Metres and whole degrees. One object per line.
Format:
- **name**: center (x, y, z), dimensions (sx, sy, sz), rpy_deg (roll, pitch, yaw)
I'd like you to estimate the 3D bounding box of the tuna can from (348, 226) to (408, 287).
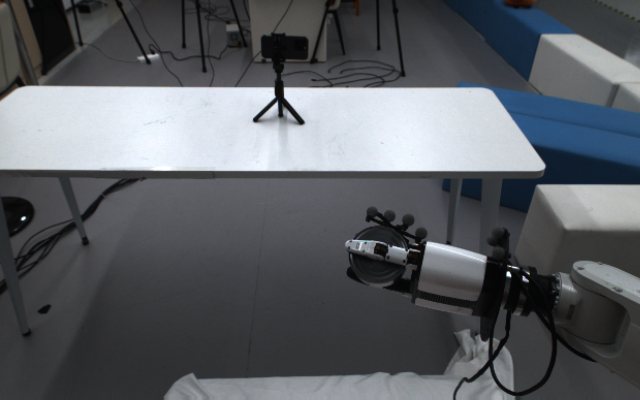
- **tuna can**: center (0.087, 0.080, 0.703), dimensions (0.085, 0.034, 0.085), rpy_deg (-4, 66, 10)
